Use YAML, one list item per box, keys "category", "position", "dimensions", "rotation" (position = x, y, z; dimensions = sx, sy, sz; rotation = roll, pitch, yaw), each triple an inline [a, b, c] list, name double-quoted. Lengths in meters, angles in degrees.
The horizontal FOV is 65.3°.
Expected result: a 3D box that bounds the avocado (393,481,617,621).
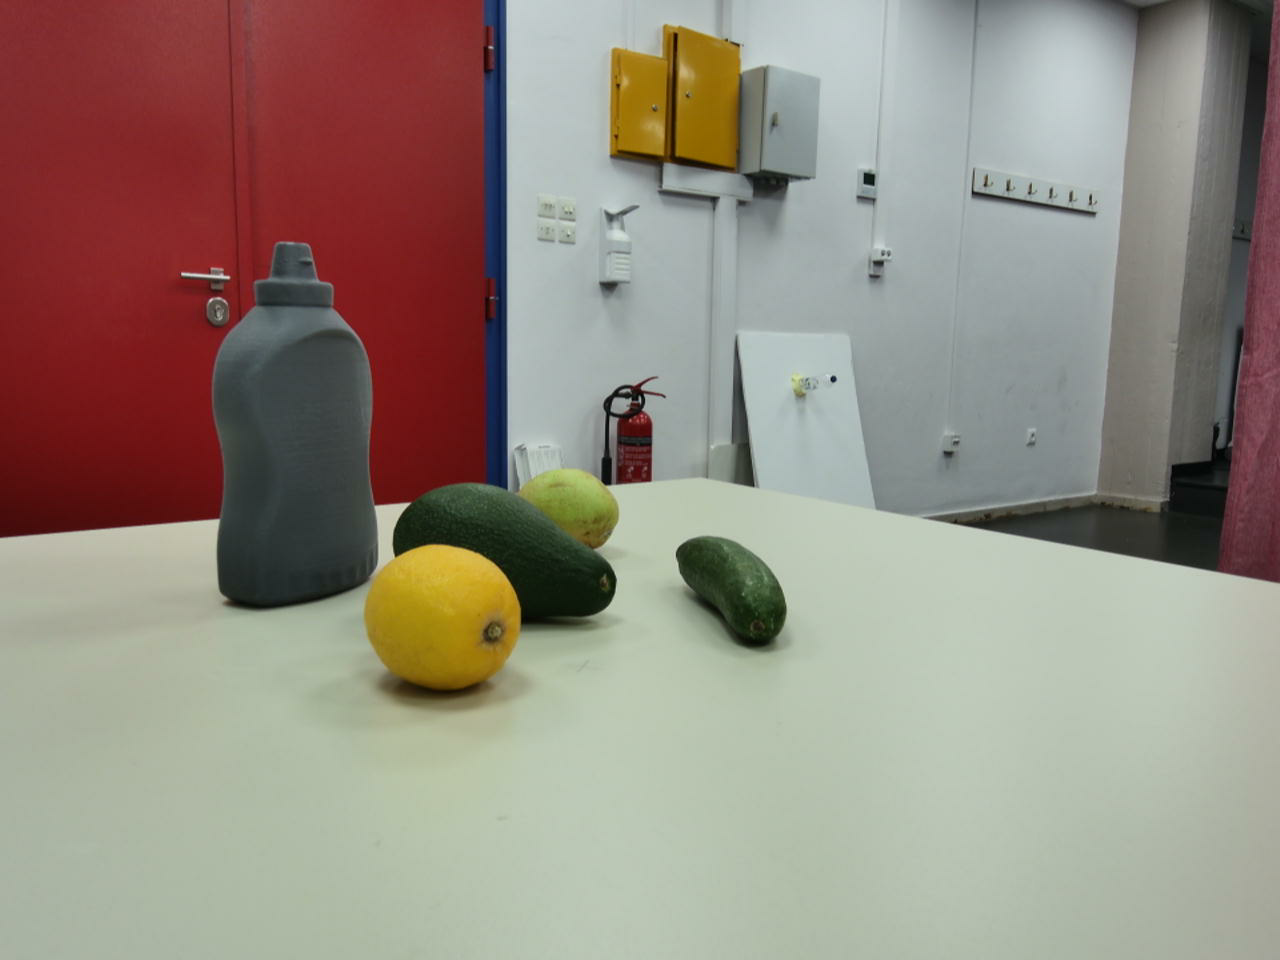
- category: "avocado"
  position: [-0.073, 0.037, 0.514]
  dimensions: [0.110, 0.071, 0.072]
  rotation: [4, 7, 30]
